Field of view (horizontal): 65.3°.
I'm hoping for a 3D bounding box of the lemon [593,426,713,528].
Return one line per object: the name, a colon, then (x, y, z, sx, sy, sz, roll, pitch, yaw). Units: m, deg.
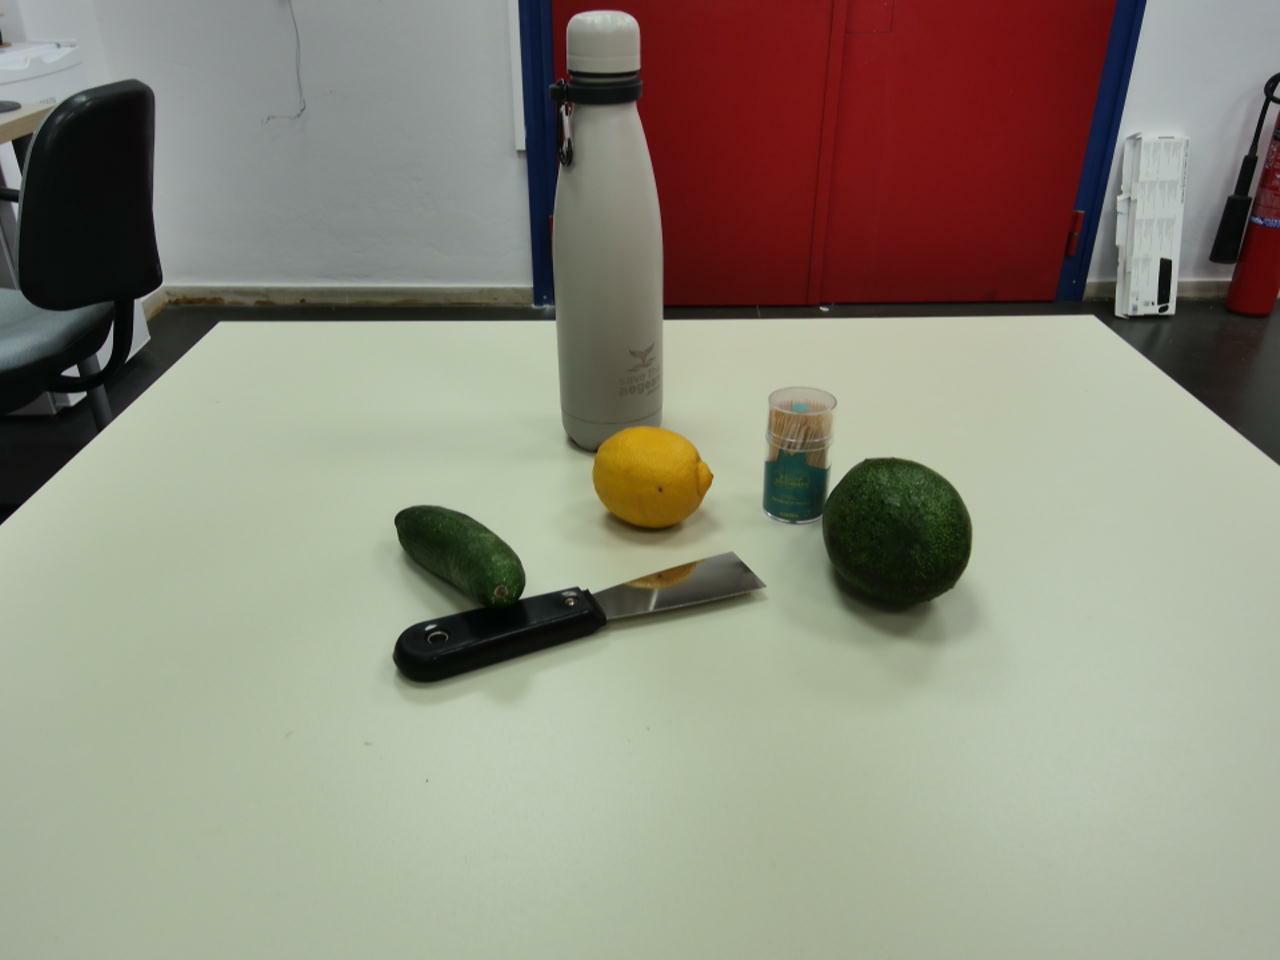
lemon: (0.006, -0.002, 0.596, 0.067, 0.059, 0.060, 20, 34, 37)
